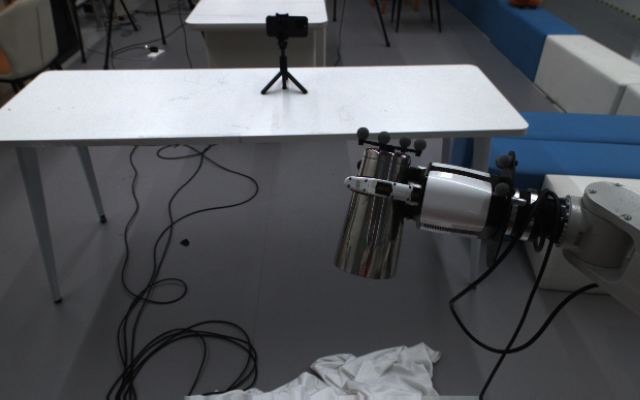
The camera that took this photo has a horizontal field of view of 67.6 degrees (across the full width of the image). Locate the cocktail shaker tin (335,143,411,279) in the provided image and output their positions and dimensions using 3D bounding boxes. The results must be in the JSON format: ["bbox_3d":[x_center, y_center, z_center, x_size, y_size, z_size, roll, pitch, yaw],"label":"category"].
[{"bbox_3d":[0.083,0.013,0.688,0.093,0.170,0.093,10,9,-2],"label":"cocktail shaker tin"}]
